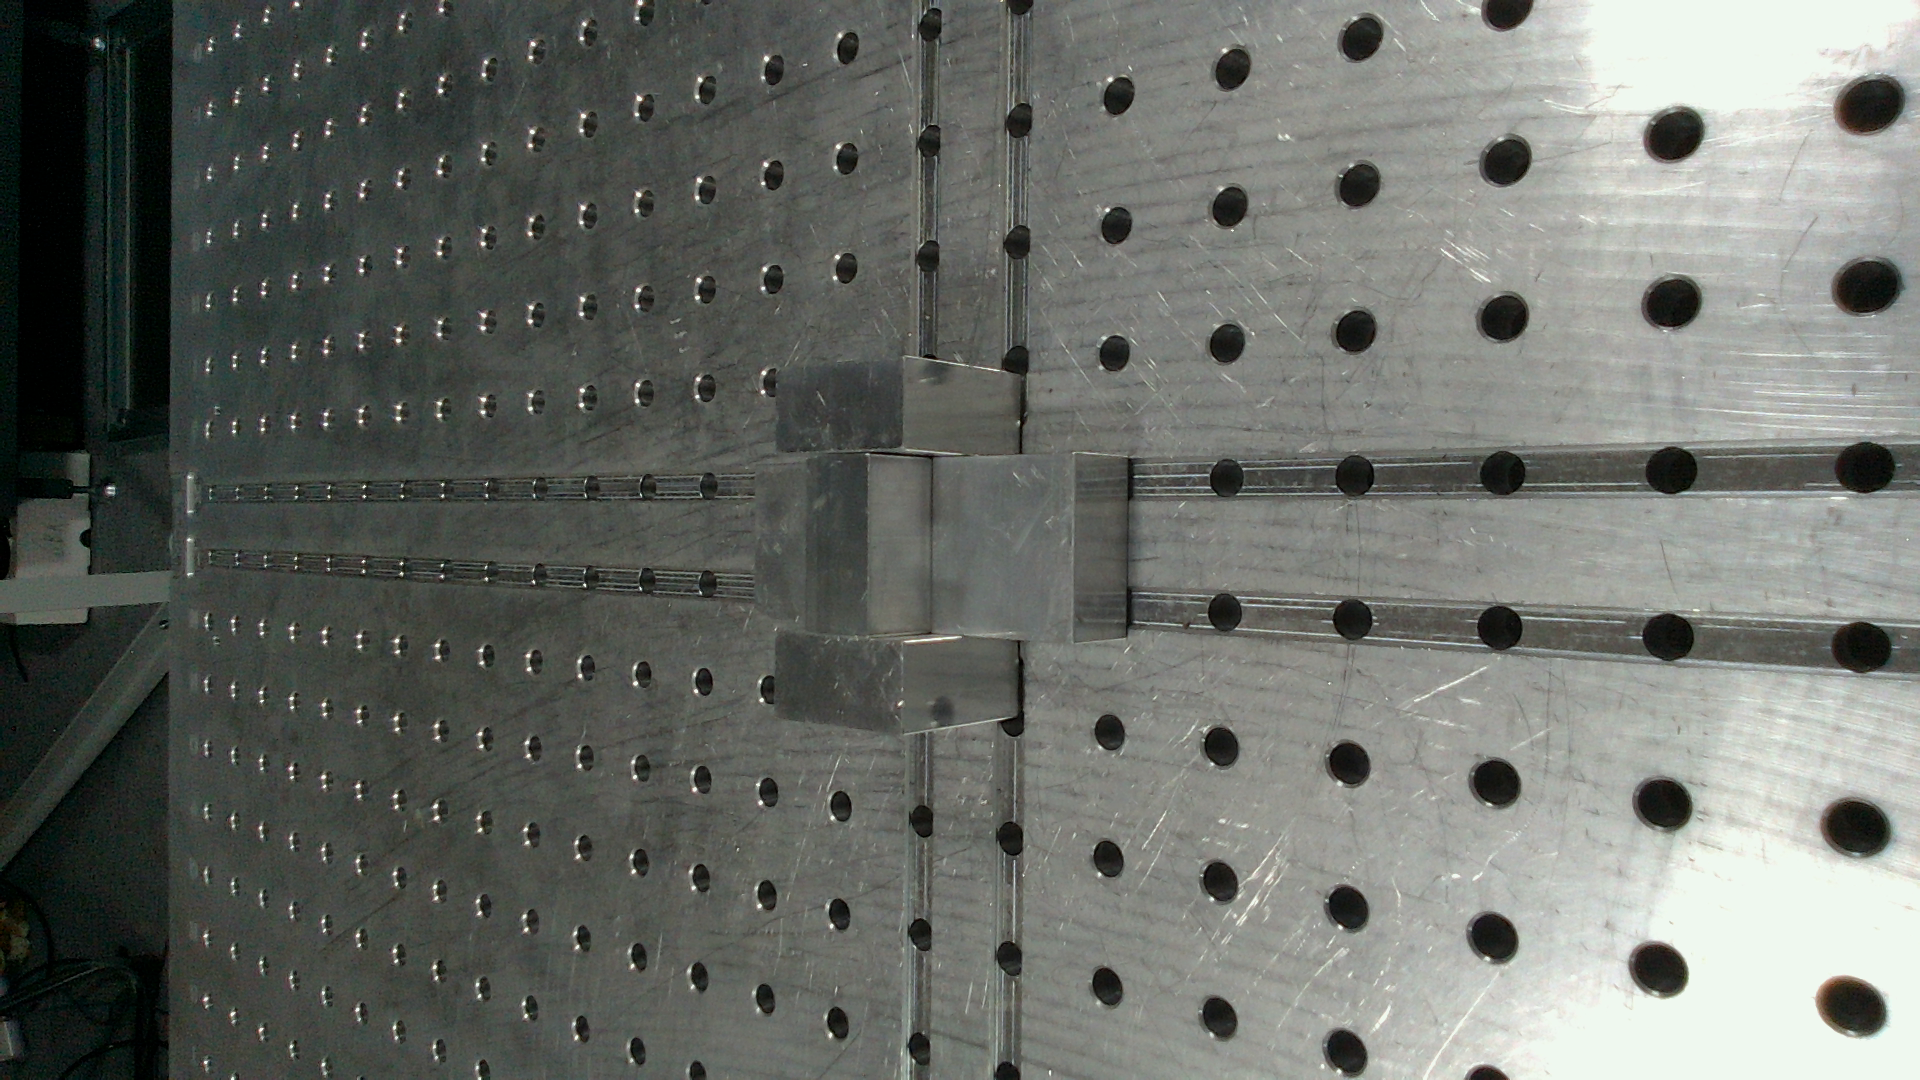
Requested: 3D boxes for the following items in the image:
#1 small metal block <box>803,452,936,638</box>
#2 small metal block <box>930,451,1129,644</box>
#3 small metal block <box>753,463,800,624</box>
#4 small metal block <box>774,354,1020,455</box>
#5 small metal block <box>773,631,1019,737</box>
[{"bbox_3d":[-0.018,0.001,0.396,0.025,0.050,0.050,1,91,40],"label":"small metal block"},{"bbox_3d":[0.019,0.001,0.382,0.050,0.025,0.050,1,91,40],"label":"small metal block"},{"bbox_3d":[-0.039,0.001,0.430,0.050,0.025,0.050,0,90,40],"label":"small metal block"},{"bbox_3d":[-0.018,-0.037,0.396,0.050,0.050,0.025,1,91,40],"label":"small metal block"},{"bbox_3d":[-0.018,0.039,0.396,0.050,0.050,0.025,1,91,40],"label":"small metal block"}]
